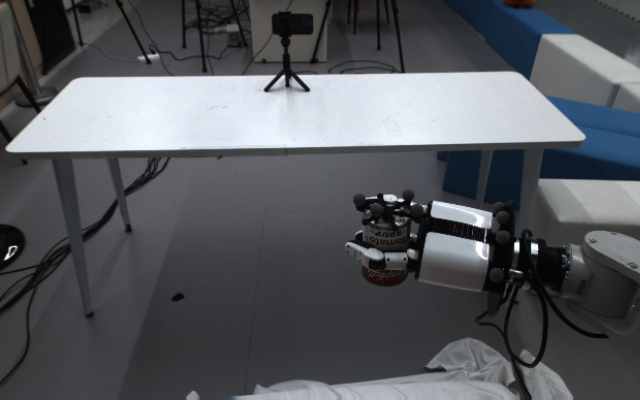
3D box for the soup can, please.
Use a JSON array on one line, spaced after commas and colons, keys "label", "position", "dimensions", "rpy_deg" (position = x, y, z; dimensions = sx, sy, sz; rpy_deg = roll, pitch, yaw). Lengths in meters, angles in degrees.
[{"label": "soup can", "position": [0.095, 0.061, 0.684], "dimensions": [0.067, 0.101, 0.067], "rpy_deg": [-2, 33, 1]}]
